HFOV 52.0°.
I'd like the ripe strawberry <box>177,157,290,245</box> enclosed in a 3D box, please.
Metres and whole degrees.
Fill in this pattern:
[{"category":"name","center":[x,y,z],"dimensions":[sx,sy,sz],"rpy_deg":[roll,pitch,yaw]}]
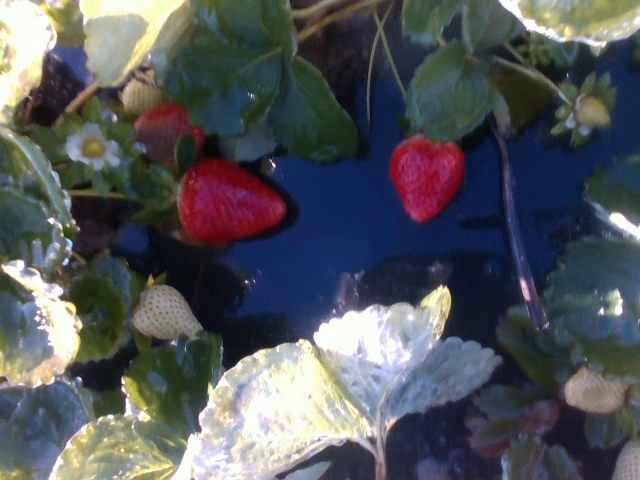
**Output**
[{"category":"ripe strawberry","center":[-0.042,-0.016,0.307],"dimensions":[0.056,0.044,0.040],"rpy_deg":[14,11,0]}]

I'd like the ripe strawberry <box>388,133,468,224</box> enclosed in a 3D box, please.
[{"category":"ripe strawberry","center":[0.049,-0.027,0.286],"dimensions":[0.039,0.047,0.040],"rpy_deg":[3,0,2]}]
